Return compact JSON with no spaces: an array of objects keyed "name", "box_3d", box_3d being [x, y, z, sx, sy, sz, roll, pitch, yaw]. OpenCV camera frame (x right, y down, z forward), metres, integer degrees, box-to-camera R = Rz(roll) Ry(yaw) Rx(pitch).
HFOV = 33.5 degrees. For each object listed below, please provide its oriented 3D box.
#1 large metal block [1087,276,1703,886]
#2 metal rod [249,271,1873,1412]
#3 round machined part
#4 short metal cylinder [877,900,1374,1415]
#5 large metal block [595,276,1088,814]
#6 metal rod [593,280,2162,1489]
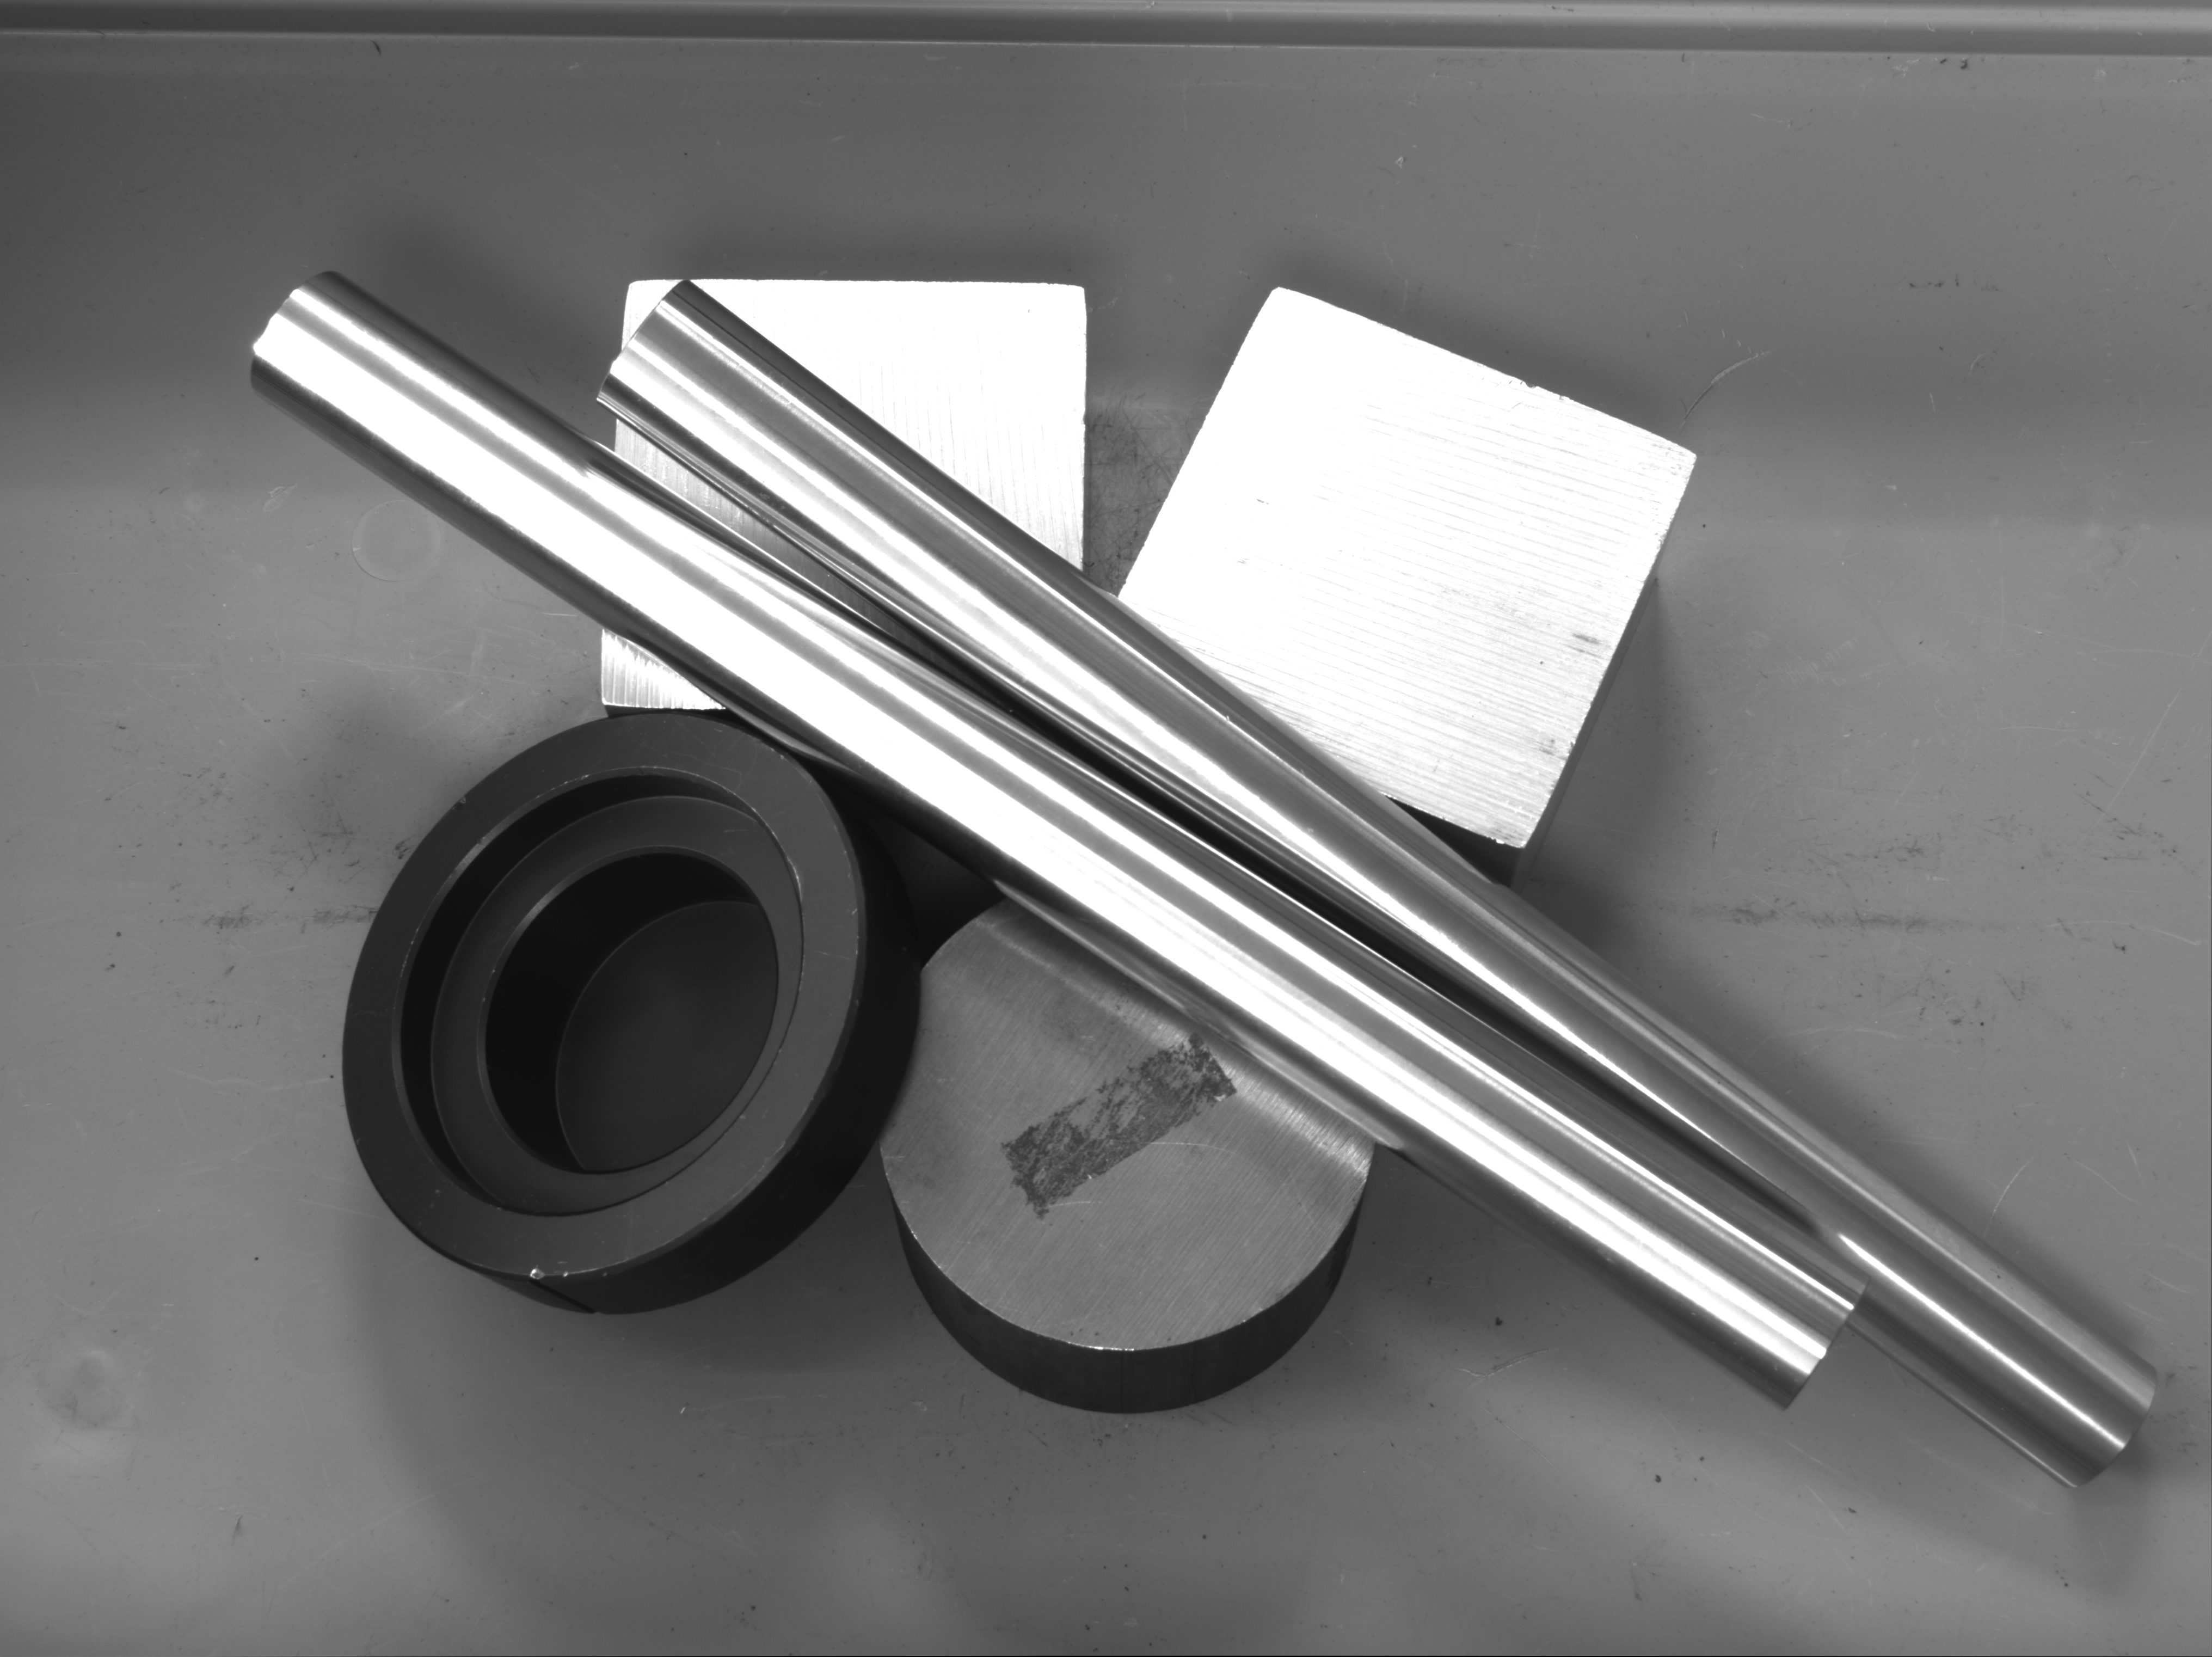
[{"name":"large metal block","box_3d":[0.049,-0.038,0.643,0.080,0.050,0.080,23,72,8]},{"name":"metal rod","box_3d":[-0.012,-0.002,0.590,0.300,0.025,0.025,33,73,10]},{"name":"round machined part","box_3d":[-0.074,0.034,0.611,0.098,0.042,0.098,-10,64,22]},{"name":"short metal cylinder","box_3d":[0.004,0.053,0.610,0.080,0.050,0.080,0,70,0]},{"name":"large metal block","box_3d":[-0.044,-0.049,0.645,0.080,0.050,0.080,1,70,0]},{"name":"metal rod","box_3d":[0.045,0.010,0.600,0.300,0.025,0.025,36,73,-3]}]
